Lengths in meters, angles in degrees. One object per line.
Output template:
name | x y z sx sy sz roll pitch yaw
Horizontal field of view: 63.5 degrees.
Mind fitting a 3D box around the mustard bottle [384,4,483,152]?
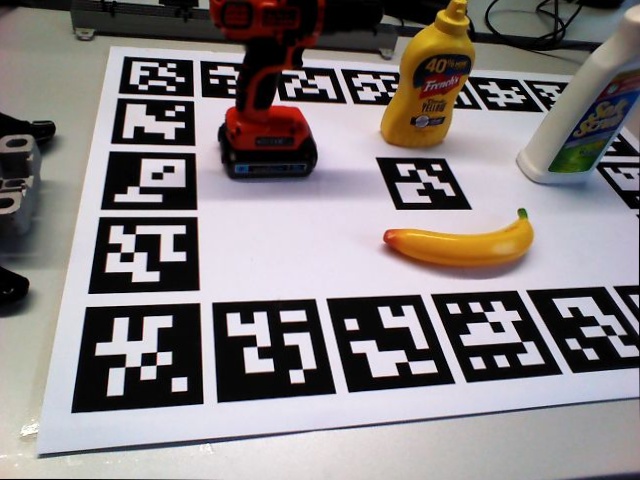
mustard bottle | 0.154 -0.204 0.662 0.096 0.192 0.058 -6 50 -20

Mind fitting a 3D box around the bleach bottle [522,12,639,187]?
bleach bottle | 0.356 -0.180 0.641 0.102 0.252 0.067 6 47 -8

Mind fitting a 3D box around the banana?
banana | 0.176 -0.002 0.572 0.197 0.039 0.074 -7 52 -14

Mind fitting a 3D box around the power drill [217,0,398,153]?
power drill | -0.017 -0.187 0.566 0.184 0.188 0.057 -8 50 -14
